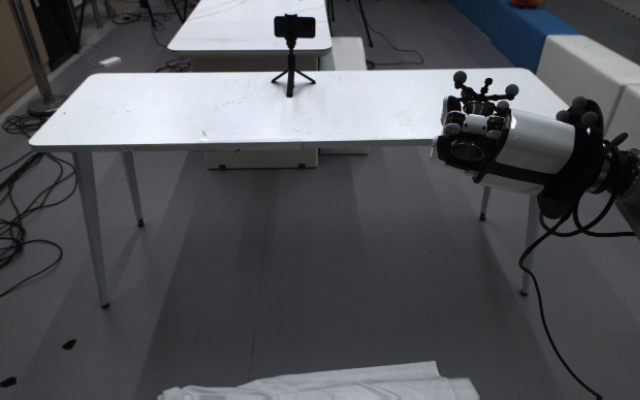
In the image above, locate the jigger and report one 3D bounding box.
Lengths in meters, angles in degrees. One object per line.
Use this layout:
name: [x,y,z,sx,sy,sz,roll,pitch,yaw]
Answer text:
jigger: [0.205,-0.093,0.644,0.043,0.043,0.071,12,71,14]
